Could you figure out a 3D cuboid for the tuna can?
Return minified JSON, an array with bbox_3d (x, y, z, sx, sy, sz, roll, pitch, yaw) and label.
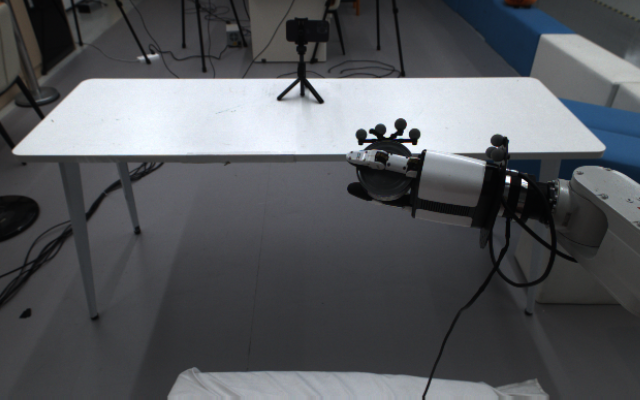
[{"bbox_3d":[0.099,-0.039,0.711,0.085,0.034,0.085,-3,73,10],"label":"tuna can"}]
